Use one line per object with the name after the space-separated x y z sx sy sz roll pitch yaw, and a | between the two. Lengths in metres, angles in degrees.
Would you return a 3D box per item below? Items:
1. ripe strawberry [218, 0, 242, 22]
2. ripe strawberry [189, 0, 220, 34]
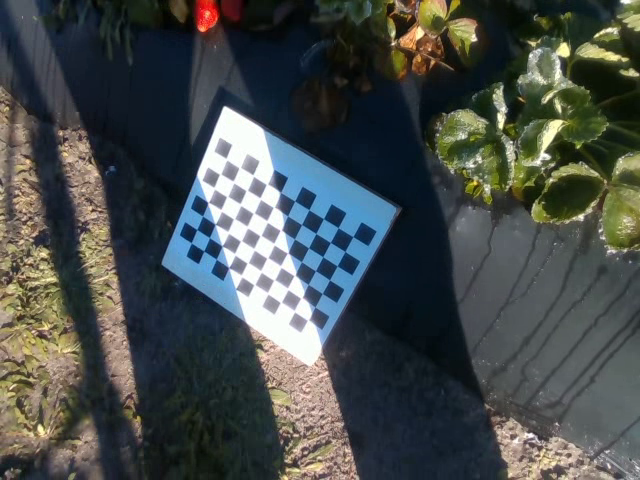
-0.108 -0.301 0.782 0.036 0.041 0.030 -34 -8 24 | ripe strawberry
-0.146 -0.286 0.781 0.036 0.052 0.040 -7 -29 22 | ripe strawberry
